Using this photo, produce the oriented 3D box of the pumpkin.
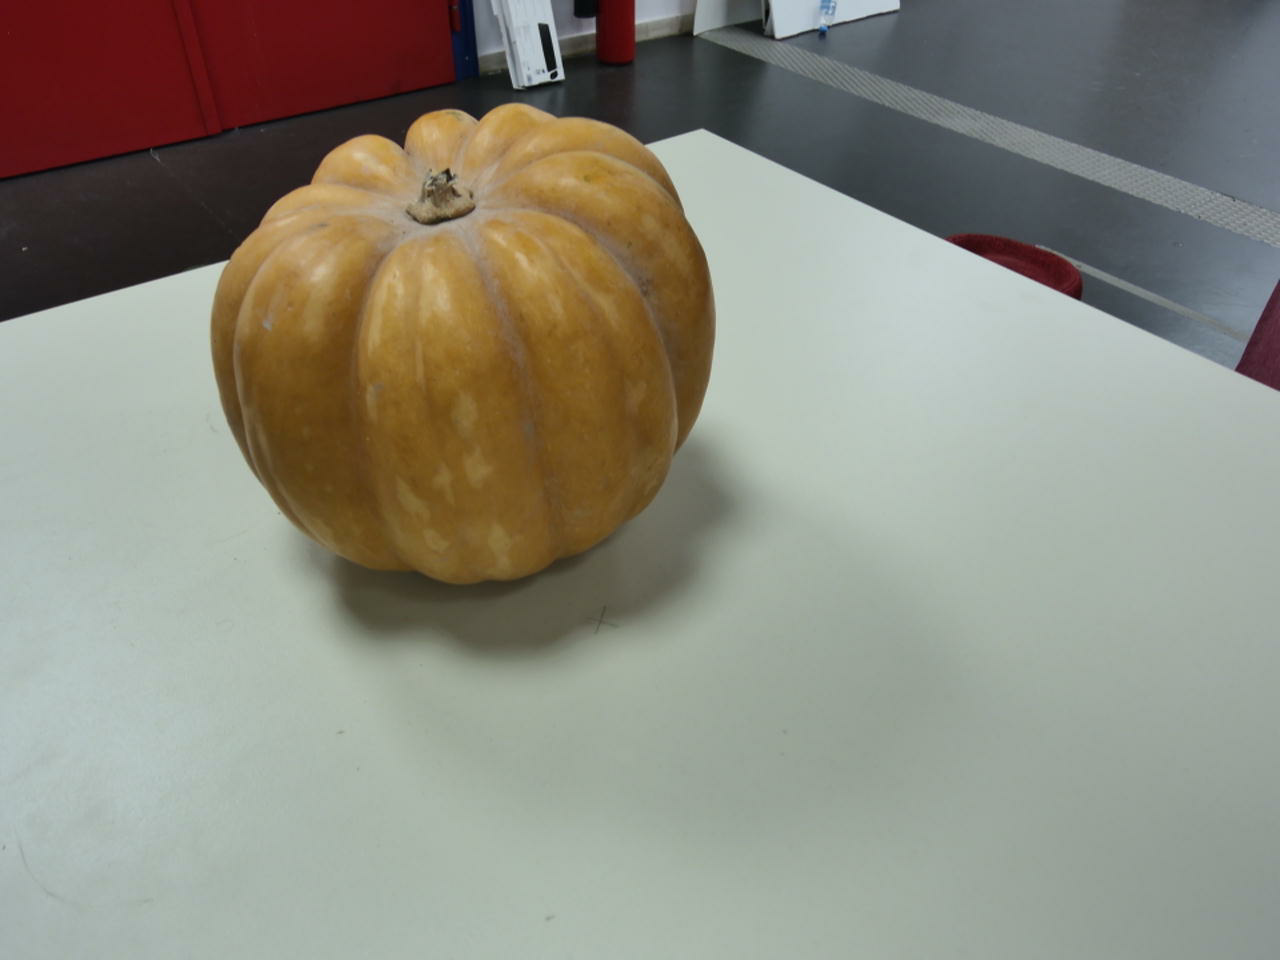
[{"bbox_3d":[-0.076,-0.061,0.467,0.230,0.194,0.230,0,38,0],"label":"pumpkin"}]
